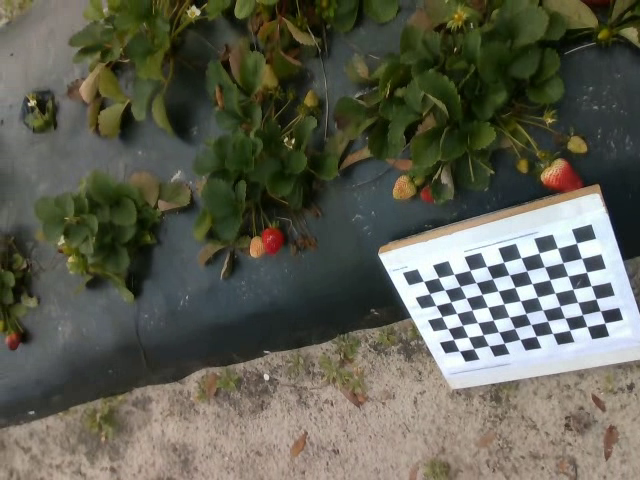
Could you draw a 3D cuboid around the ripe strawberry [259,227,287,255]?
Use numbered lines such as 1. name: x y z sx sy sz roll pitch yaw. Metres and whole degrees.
1. ripe strawberry: -0.069 0.002 0.897 0.034 0.042 0.033 11 -24 12
